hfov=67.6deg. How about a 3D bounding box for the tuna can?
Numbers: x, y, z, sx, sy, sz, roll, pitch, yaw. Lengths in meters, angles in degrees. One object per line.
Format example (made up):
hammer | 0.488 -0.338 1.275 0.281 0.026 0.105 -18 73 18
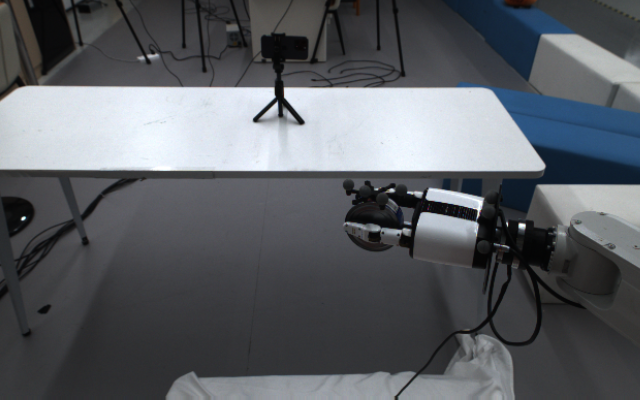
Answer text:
tuna can | 0.084 0.032 0.736 0.085 0.085 0.034 13 29 16
